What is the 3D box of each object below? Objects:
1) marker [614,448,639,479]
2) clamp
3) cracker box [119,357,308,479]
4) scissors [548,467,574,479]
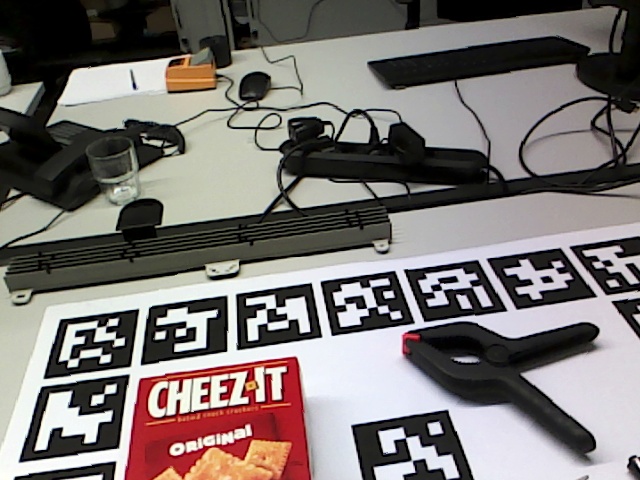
[{"bbox_3d":[0.290,0.229,0.525,0.019,0.019,0.121,-10,35,-6],"label":"marker"},{"bbox_3d":[0.175,0.137,0.683,0.204,0.036,0.165,11,37,21],"label":"clamp"},{"bbox_3d":[-0.094,0.212,0.565,0.164,0.072,0.214,-7,35,-2],"label":"cracker box"},{"bbox_3d":[0.148,0.246,0.523,0.202,0.016,0.088,-24,38,-28],"label":"scissors"}]
